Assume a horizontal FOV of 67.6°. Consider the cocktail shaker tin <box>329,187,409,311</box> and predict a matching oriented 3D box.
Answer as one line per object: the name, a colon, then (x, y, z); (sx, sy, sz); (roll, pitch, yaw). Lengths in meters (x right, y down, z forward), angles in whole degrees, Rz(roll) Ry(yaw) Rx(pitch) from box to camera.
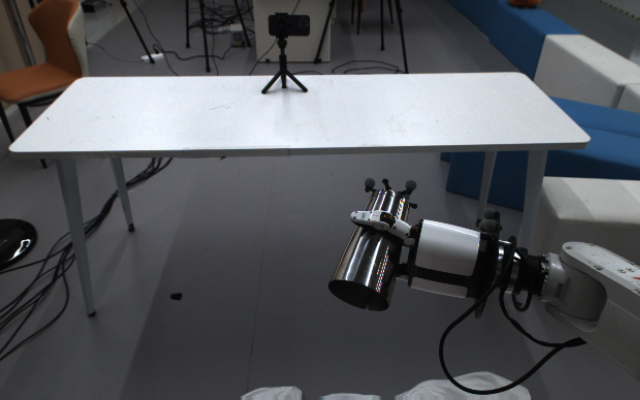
cocktail shaker tin: (0.082, 0.067, 0.727); (0.093, 0.093, 0.170); (14, 57, 16)
